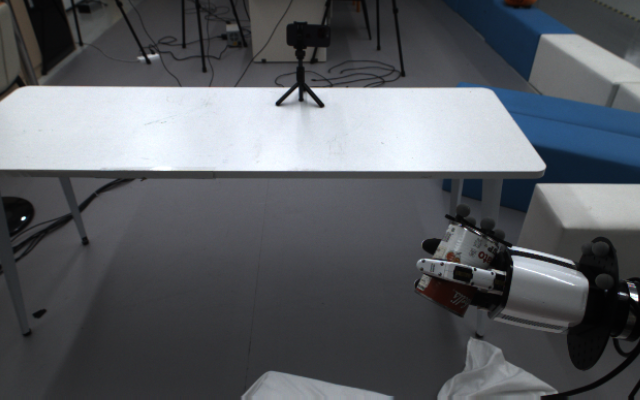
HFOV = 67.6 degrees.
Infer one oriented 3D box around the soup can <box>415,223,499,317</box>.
[{"bbox_3d":[0.175,0.086,0.609,0.067,0.101,0.067,28,-3,2],"label":"soup can"}]
